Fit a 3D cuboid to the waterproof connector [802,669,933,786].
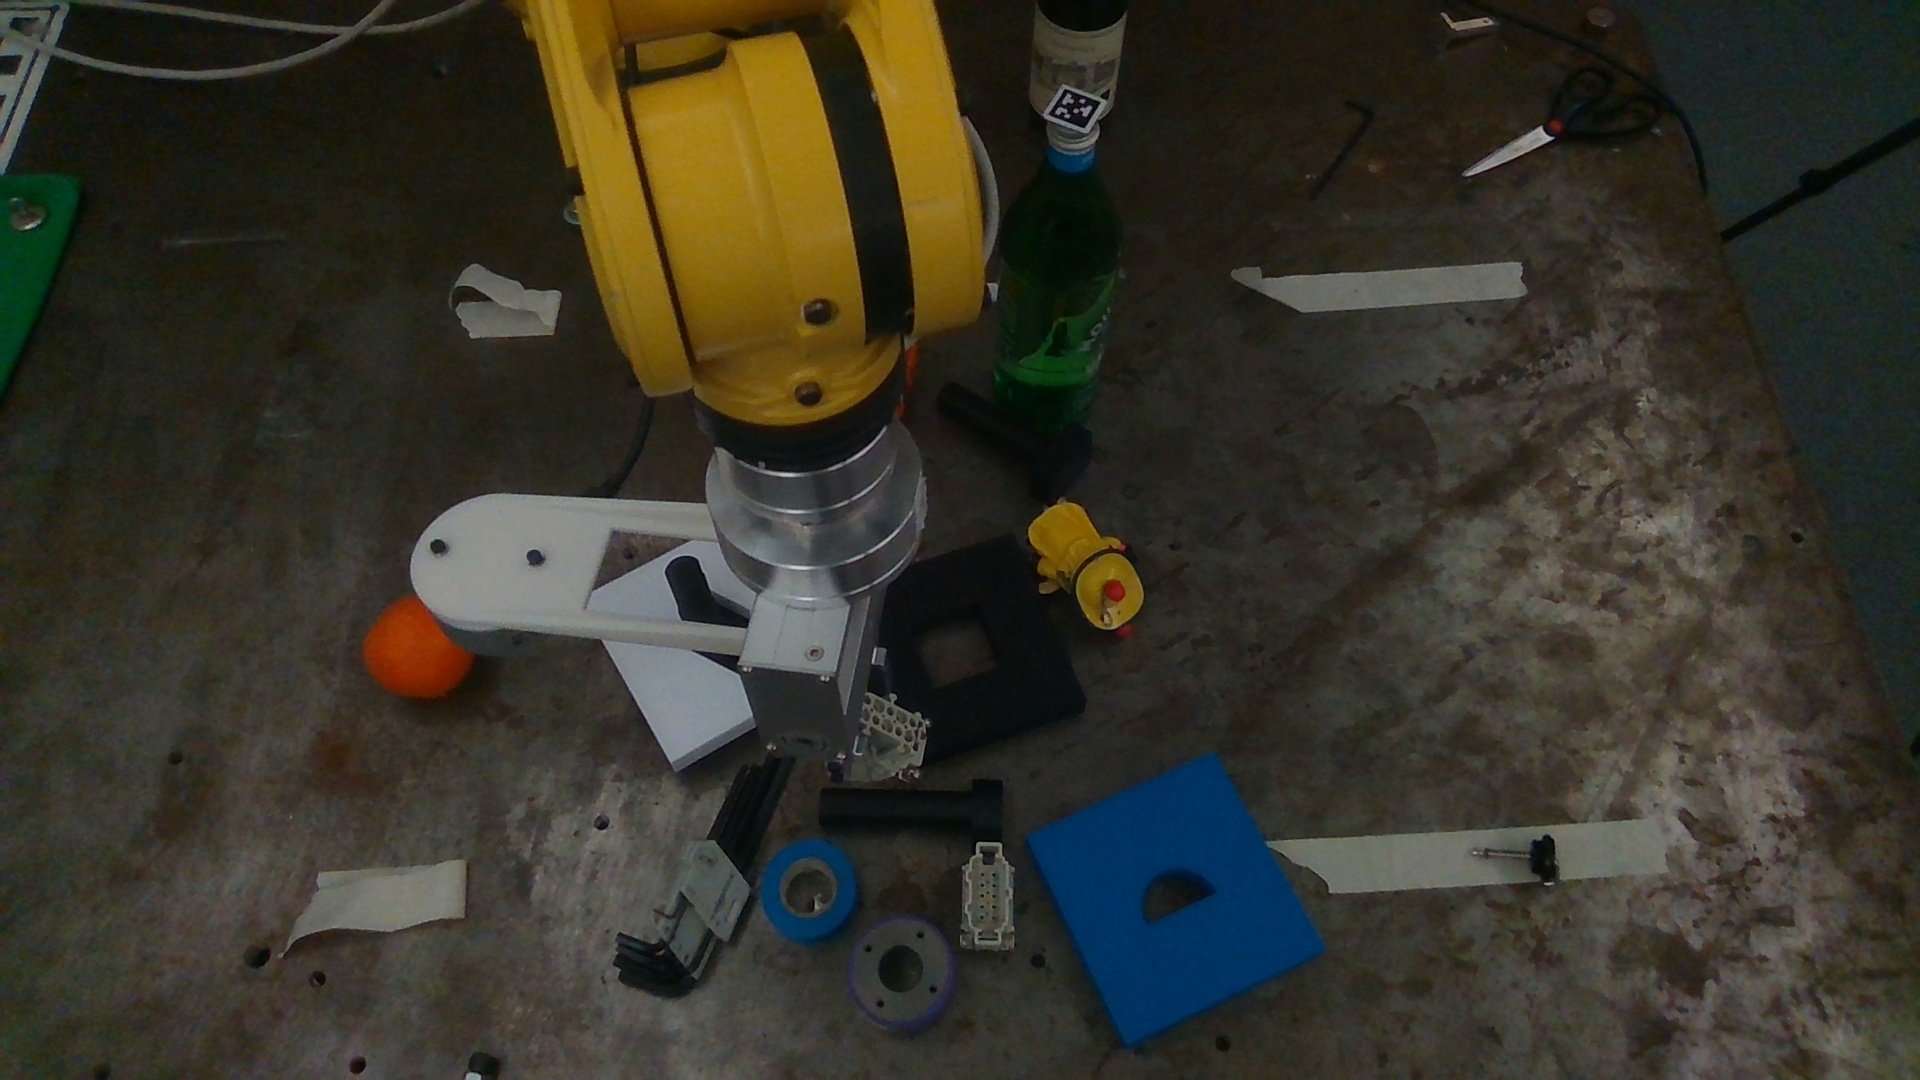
[{"bbox_3d":[-0.045,0.090,0.676,0.069,0.039,0.036,30,50,-20],"label":"waterproof connector"}]
